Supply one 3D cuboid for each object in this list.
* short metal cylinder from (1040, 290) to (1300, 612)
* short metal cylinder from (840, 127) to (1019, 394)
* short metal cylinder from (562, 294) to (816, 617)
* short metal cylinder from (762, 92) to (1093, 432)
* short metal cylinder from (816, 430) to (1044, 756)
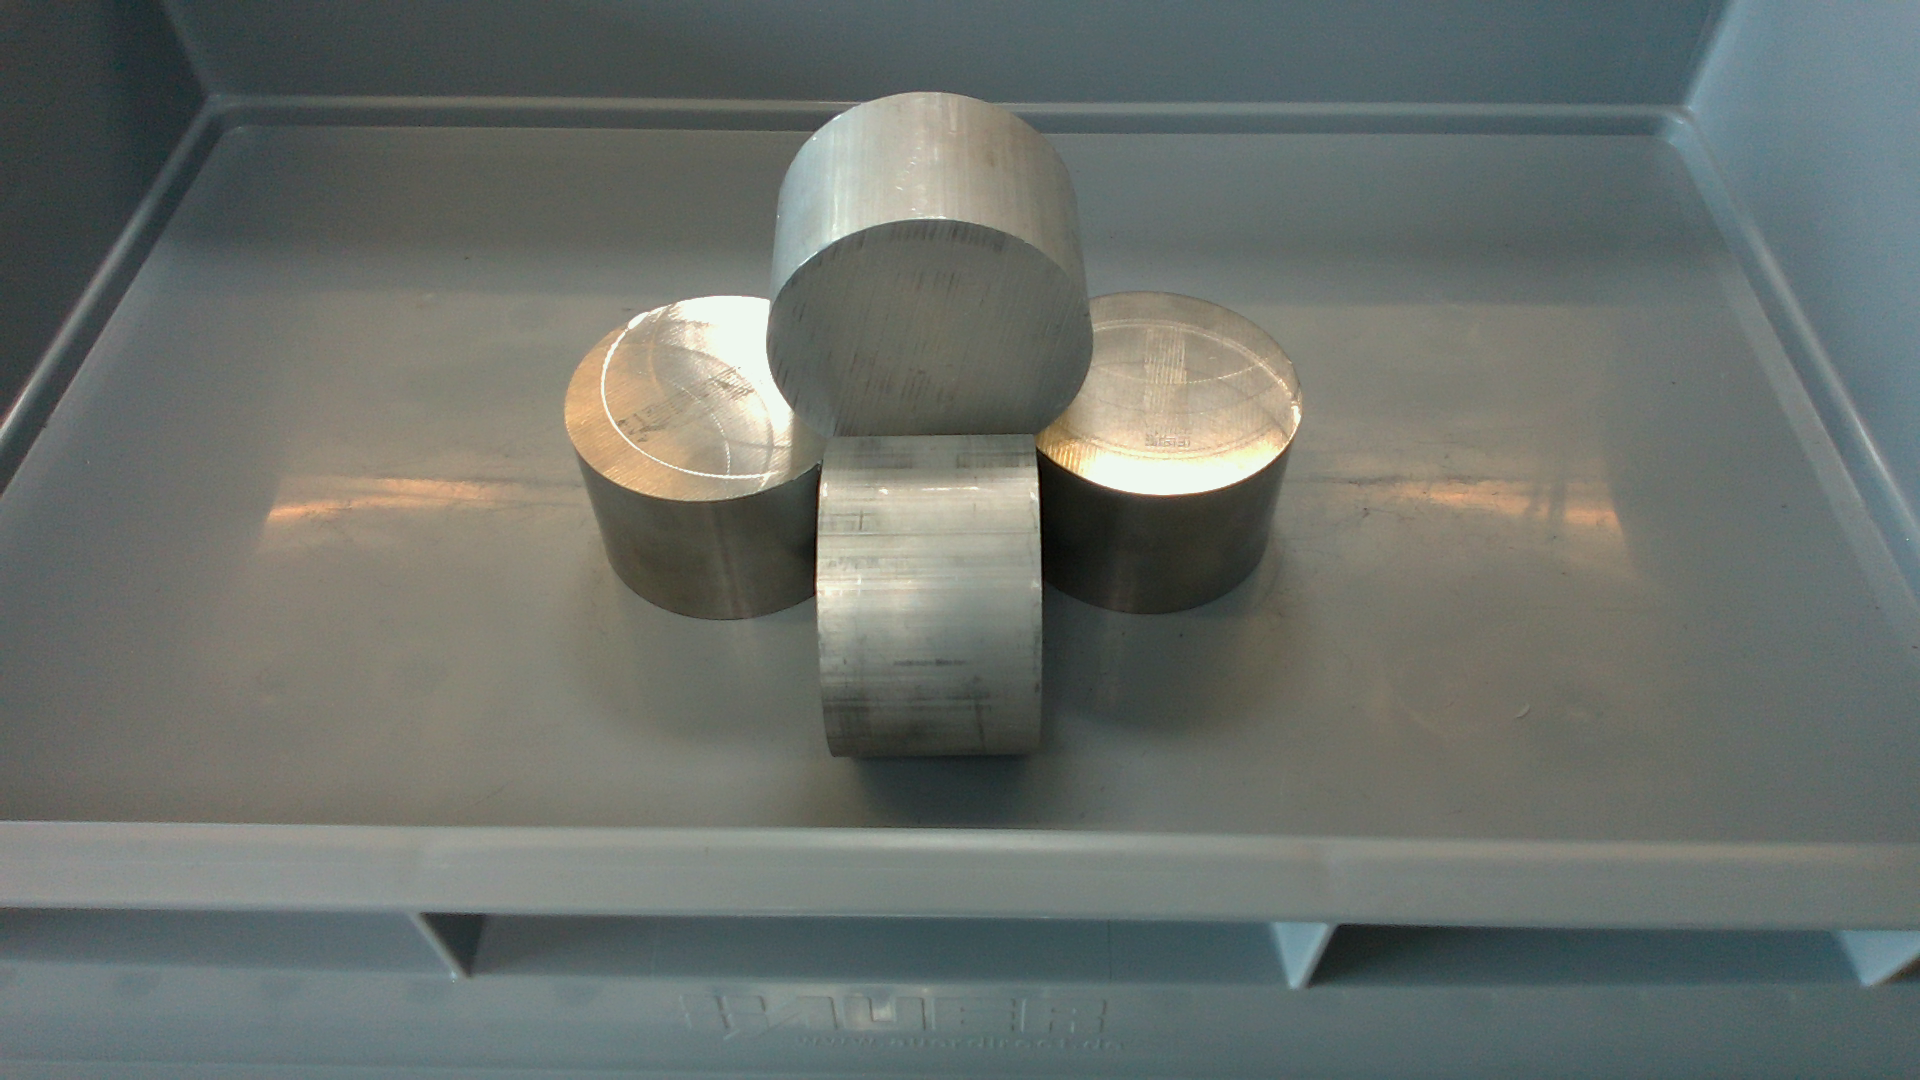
[{"bbox_3d":[0.053,-0.026,0.395,0.080,0.050,0.080,0,50,0],"label":"short metal cylinder"},{"bbox_3d":[-0.009,-0.086,0.426,0.050,0.080,0.080,-1,50,-1],"label":"short metal cylinder"},{"bbox_3d":[-0.068,-0.025,0.394,0.080,0.050,0.080,0,50,0],"label":"short metal cylinder"},{"bbox_3d":[-0.008,-0.065,0.351,0.080,0.080,0.050,-1,50,-1],"label":"short metal cylinder"},{"bbox_3d":[-0.007,0.013,0.342,0.050,0.080,0.080,-1,50,-1],"label":"short metal cylinder"}]
